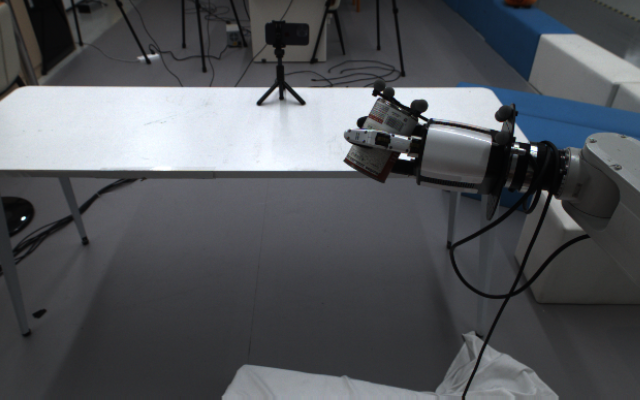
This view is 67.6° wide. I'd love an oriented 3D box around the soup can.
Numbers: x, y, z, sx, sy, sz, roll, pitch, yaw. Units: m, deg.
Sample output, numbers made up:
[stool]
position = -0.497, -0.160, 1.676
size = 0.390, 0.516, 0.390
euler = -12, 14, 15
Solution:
[soup can]
position = 0.087, -0.084, 0.688
size = 0.067, 0.101, 0.067
euler = 27, 10, -5
